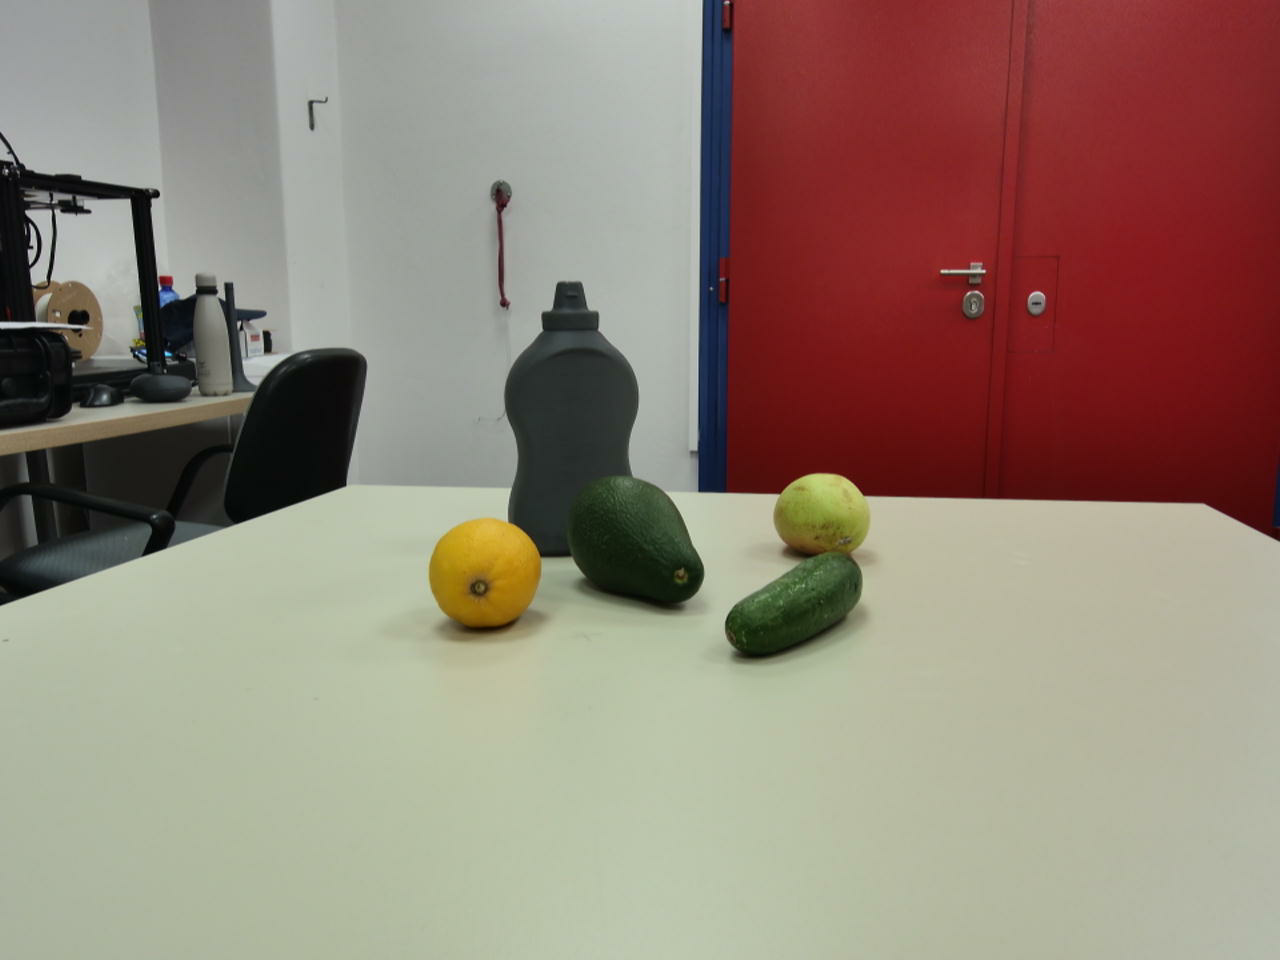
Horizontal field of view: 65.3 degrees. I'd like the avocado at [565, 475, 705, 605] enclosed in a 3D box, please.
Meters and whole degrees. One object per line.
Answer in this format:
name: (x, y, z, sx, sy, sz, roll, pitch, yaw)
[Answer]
avocado: (-0.006, 0.034, 0.604, 0.072, 0.071, 0.109, -1, 7, -11)
